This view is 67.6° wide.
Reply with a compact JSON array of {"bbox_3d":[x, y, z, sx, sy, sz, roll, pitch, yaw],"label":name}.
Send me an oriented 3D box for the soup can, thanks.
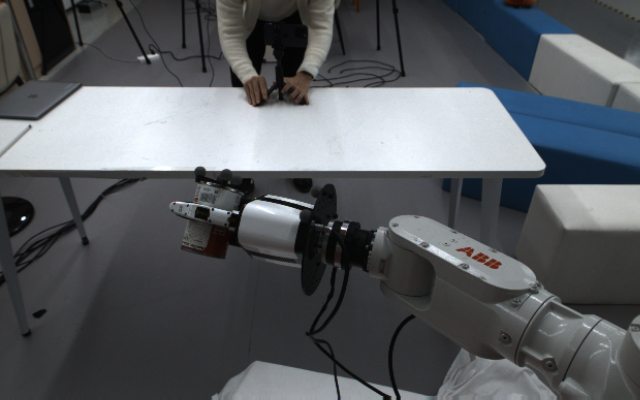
[{"bbox_3d":[-0.158,0.031,0.709,0.067,0.101,0.067,14,-6,1],"label":"soup can"}]
